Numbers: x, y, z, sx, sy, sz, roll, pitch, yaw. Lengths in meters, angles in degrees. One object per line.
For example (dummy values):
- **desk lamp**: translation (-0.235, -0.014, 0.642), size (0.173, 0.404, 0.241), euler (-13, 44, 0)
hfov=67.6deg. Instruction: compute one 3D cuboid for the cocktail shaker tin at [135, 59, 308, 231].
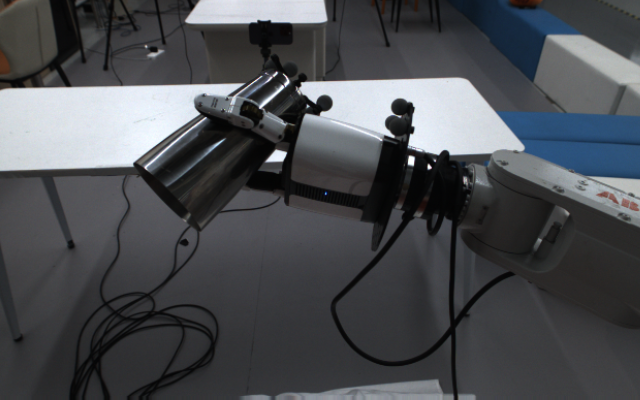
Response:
- **cocktail shaker tin**: translation (-0.093, -0.062, 0.501), size (0.093, 0.093, 0.170), euler (32, 66, 35)
